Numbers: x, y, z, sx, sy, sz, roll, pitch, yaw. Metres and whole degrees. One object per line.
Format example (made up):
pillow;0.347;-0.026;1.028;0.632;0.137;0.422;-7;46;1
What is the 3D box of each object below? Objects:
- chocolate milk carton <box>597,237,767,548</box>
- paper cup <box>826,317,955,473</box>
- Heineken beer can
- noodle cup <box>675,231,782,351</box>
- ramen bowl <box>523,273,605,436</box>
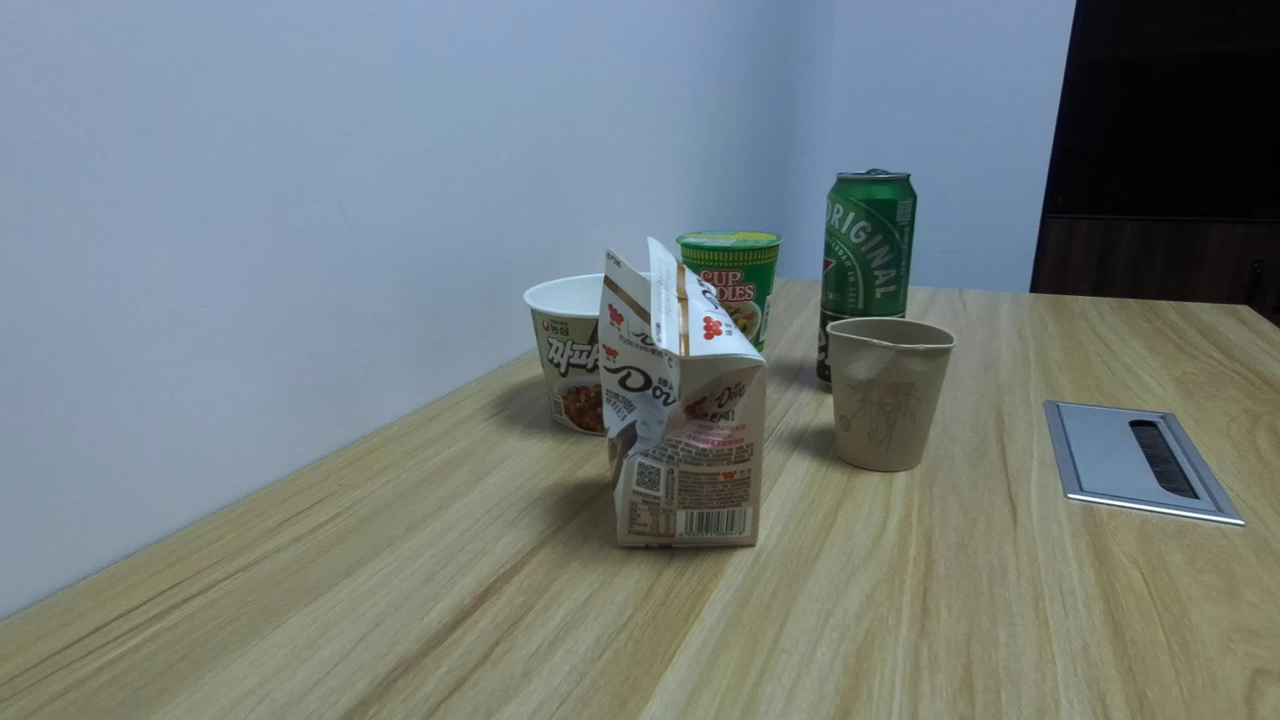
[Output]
chocolate milk carton;0.018;0.021;0.363;0.077;0.156;0.089;-6;31;-2
paper cup;0.153;0.020;0.446;0.073;0.081;0.068;-3;18;-9
Heineken beer can;0.179;-0.060;0.560;0.067;0.169;0.067;-1;17;0
noodle cup;0.084;-0.059;0.658;0.097;0.110;0.097;-2;17;1
ramen bowl;-0.016;-0.006;0.545;0.140;0.095;0.140;0;17;0
